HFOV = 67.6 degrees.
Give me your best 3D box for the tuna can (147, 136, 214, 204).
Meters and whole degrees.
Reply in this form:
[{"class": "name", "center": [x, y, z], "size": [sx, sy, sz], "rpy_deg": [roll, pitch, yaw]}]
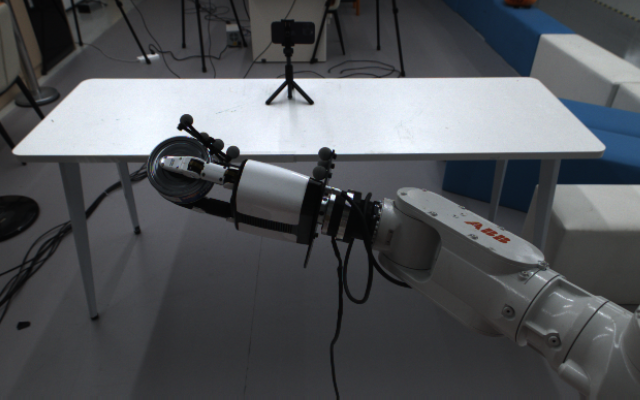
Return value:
[{"class": "tuna can", "center": [-0.180, -0.039, 0.637], "size": [0.085, 0.034, 0.085], "rpy_deg": [0, 73, -1]}]
